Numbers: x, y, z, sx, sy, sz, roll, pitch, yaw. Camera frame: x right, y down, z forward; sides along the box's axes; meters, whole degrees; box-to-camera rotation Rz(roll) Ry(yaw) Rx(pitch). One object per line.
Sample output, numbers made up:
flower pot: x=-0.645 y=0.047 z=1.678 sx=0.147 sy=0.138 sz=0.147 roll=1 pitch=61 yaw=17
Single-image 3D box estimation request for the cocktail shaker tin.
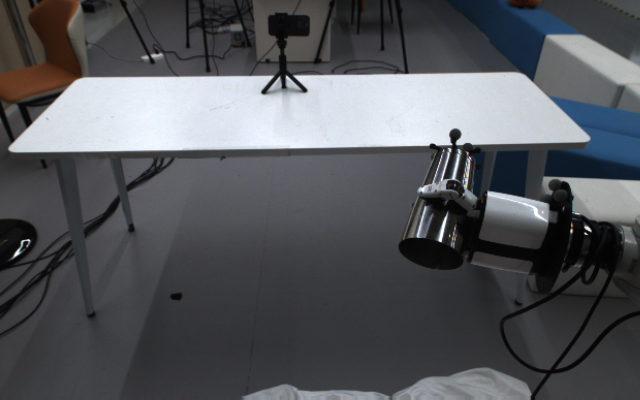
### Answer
cocktail shaker tin: x=0.182 y=0.006 z=0.717 sx=0.093 sy=0.093 sz=0.170 roll=14 pitch=60 yaw=17
